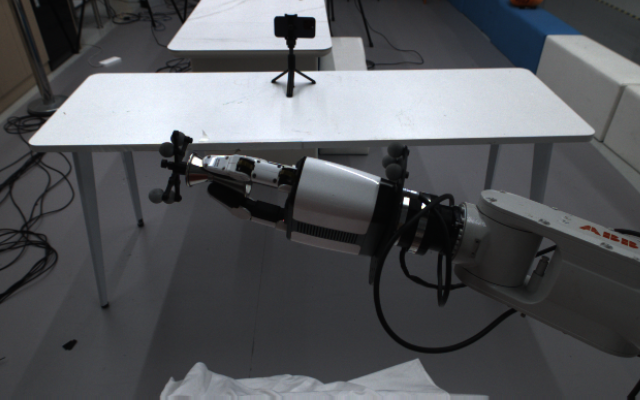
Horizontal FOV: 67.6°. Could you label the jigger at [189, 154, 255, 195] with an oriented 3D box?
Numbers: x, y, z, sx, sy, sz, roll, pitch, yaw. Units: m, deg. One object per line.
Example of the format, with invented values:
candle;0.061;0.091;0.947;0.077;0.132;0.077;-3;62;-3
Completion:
jigger;-0.108;-0.032;0.550;0.071;0.043;0.043;9;35;1
